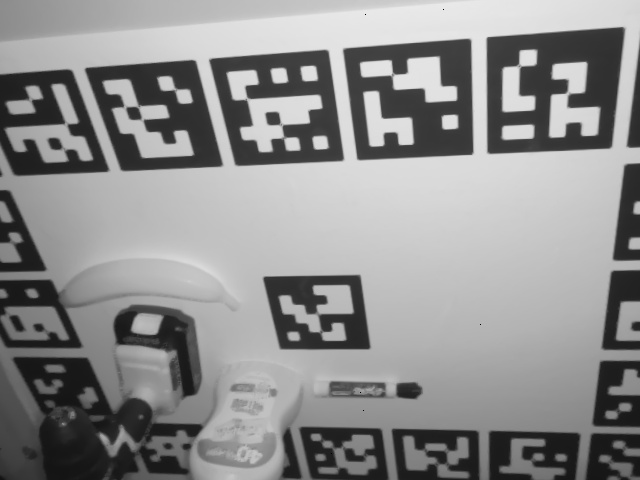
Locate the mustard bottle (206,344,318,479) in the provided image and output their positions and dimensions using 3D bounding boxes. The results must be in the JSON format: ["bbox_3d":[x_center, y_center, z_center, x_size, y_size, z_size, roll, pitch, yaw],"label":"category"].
[{"bbox_3d":[-0.065,0.190,0.721,0.096,0.194,0.058,7,122,8],"label":"mustard bottle"}]

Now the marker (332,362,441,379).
[{"bbox_3d":[0.074,0.146,0.774,0.120,0.020,0.019,-2,119,10],"label":"marker"}]

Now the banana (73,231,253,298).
[{"bbox_3d":[-0.171,0.025,0.734,0.197,0.039,0.073,2,119,6],"label":"banana"}]

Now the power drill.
[{"bbox_3d":[-0.181,0.150,0.696,0.057,0.189,0.182,9,124,7],"label":"power drill"}]
